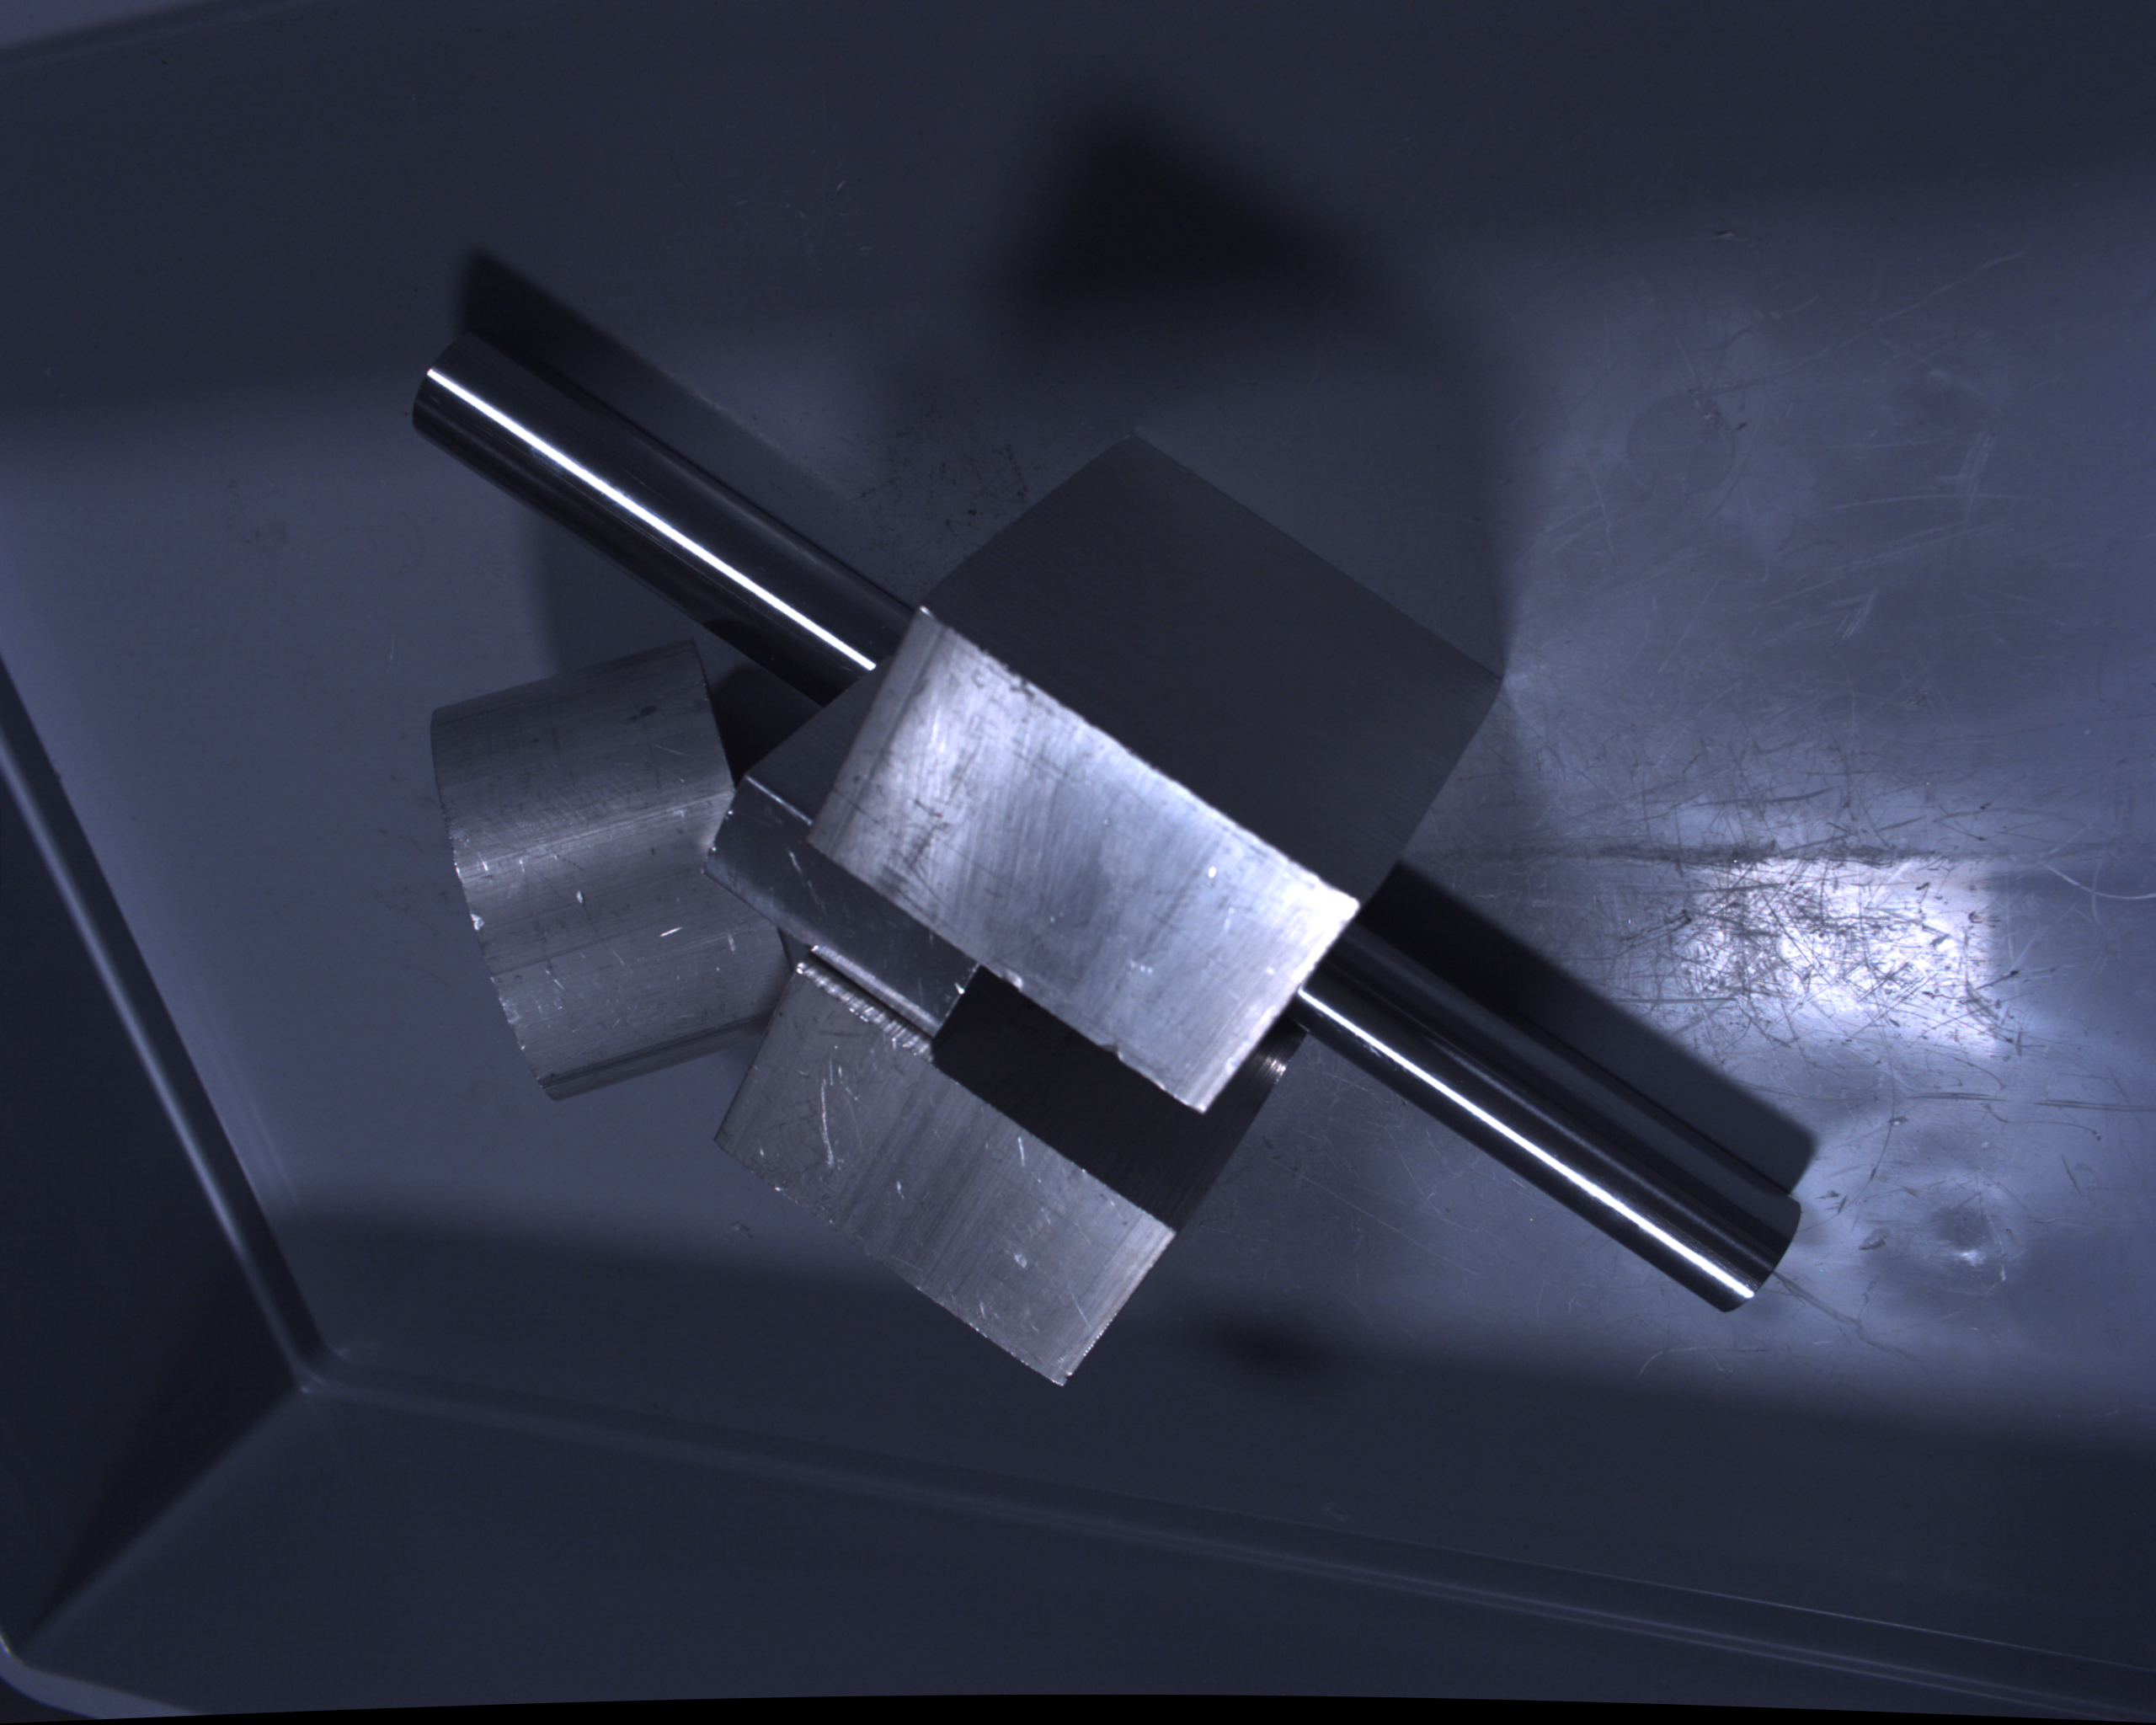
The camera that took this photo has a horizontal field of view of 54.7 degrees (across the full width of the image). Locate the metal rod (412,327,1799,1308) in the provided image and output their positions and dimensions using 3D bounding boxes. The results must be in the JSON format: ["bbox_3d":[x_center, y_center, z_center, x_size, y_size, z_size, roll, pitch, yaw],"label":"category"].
[{"bbox_3d":[0.001,-0.012,0.399,0.301,0.025,0.025,34,129,5],"label":"metal rod"}]

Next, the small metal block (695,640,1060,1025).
[{"bbox_3d":[-0.030,-0.007,0.372,0.050,0.050,0.025,35,129,4],"label":"small metal block"}]

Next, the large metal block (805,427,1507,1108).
[{"bbox_3d":[0.015,-0.019,0.352,0.080,0.080,0.050,35,129,5],"label":"large metal block"}]

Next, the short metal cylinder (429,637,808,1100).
[{"bbox_3d":[-0.089,0.001,0.409,0.050,0.080,0.079,-17,116,-8],"label":"short metal cylinder"}]

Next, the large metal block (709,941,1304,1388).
[{"bbox_3d":[-0.009,0.038,0.399,0.080,0.080,0.050,34,129,5],"label":"large metal block"}]
